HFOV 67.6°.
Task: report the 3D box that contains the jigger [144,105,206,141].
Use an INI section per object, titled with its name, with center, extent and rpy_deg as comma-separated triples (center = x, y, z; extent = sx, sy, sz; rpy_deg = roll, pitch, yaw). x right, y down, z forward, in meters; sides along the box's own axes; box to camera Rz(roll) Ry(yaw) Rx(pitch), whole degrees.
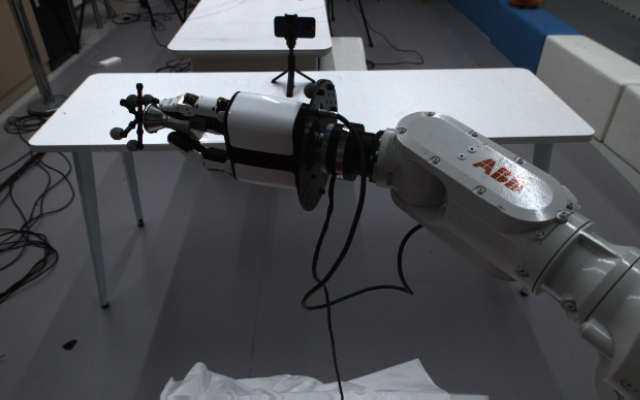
[jigger]
center = -0.190, -0.108, 0.637
extent = 0.071, 0.043, 0.043
rpy_deg = 8, 35, 12
